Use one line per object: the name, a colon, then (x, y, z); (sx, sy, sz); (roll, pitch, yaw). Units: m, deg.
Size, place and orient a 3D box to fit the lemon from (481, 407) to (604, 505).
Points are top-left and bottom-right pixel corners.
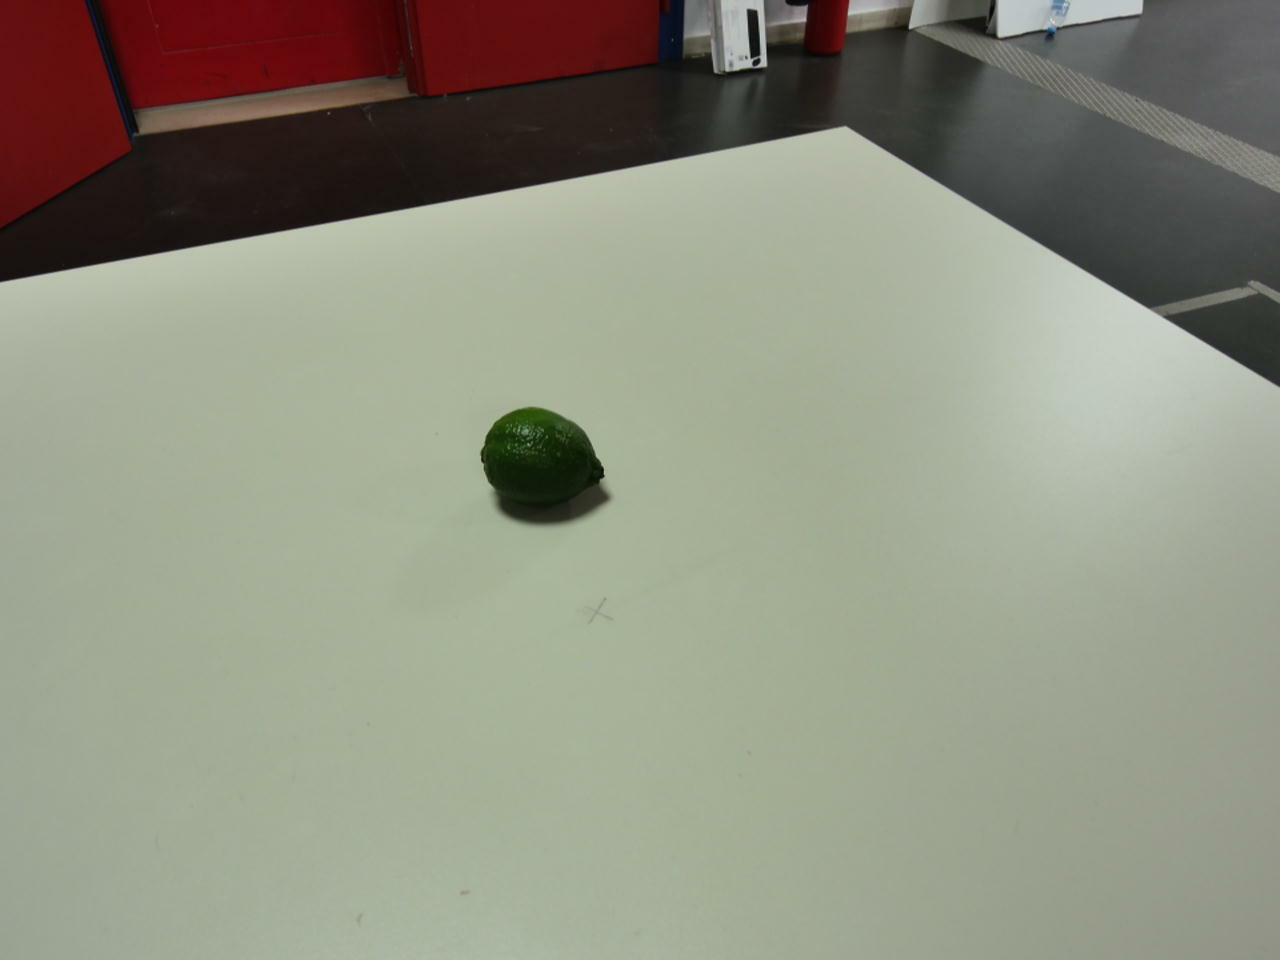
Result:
lemon: (-0.053, -0.013, 0.520); (0.057, 0.051, 0.054); (-19, 42, -23)
